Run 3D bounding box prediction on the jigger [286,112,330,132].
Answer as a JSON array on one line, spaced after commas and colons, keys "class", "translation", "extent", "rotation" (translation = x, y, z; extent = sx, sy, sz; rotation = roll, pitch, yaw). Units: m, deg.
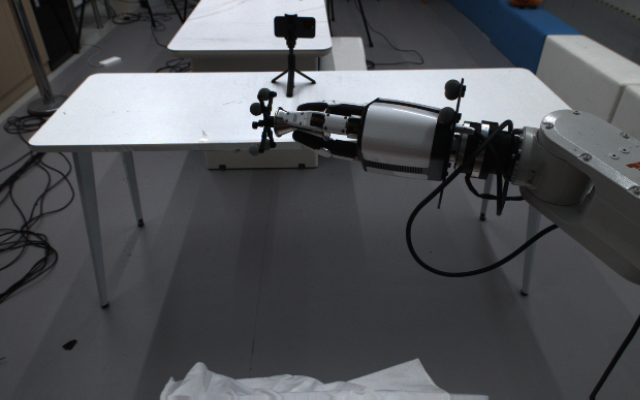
[{"class": "jigger", "translation": [-0.017, -0.104, 0.639], "extent": [0.071, 0.043, 0.043], "rotation": [5, 34, 15]}]
